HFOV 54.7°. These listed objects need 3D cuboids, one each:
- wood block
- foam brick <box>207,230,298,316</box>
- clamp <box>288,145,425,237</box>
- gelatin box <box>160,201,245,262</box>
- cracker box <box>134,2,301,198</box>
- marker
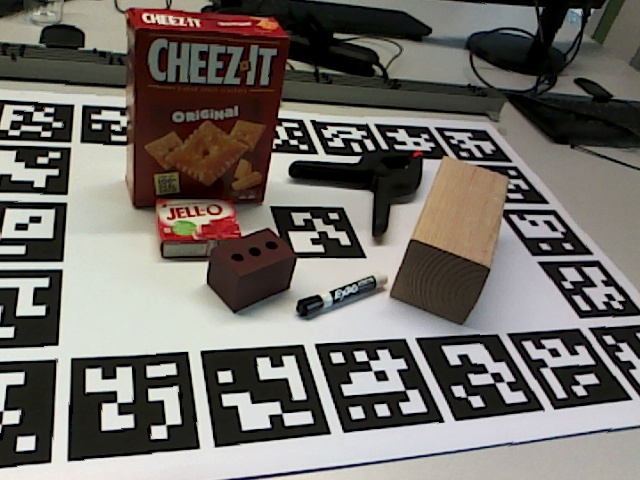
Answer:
[{"bbox_3d":[0.159,-0.006,0.748,0.090,0.091,0.206,20,37,9],"label":"wood block"},{"bbox_3d":[-0.073,0.033,0.653,0.077,0.051,0.053,-22,54,-36],"label":"foam brick"},{"bbox_3d":[0.080,-0.089,0.857,0.166,0.036,0.202,39,45,26],"label":"clamp"},{"bbox_3d":[-0.135,-0.011,0.707,0.089,0.030,0.073,-2,44,-19],"label":"gelatin box"},{"bbox_3d":[-0.126,-0.152,0.720,0.163,0.213,0.072,-2,42,-23],"label":"cracker box"},{"bbox_3d":[0.016,0.063,0.670,0.120,0.019,0.020,-17,51,-33],"label":"marker"}]
